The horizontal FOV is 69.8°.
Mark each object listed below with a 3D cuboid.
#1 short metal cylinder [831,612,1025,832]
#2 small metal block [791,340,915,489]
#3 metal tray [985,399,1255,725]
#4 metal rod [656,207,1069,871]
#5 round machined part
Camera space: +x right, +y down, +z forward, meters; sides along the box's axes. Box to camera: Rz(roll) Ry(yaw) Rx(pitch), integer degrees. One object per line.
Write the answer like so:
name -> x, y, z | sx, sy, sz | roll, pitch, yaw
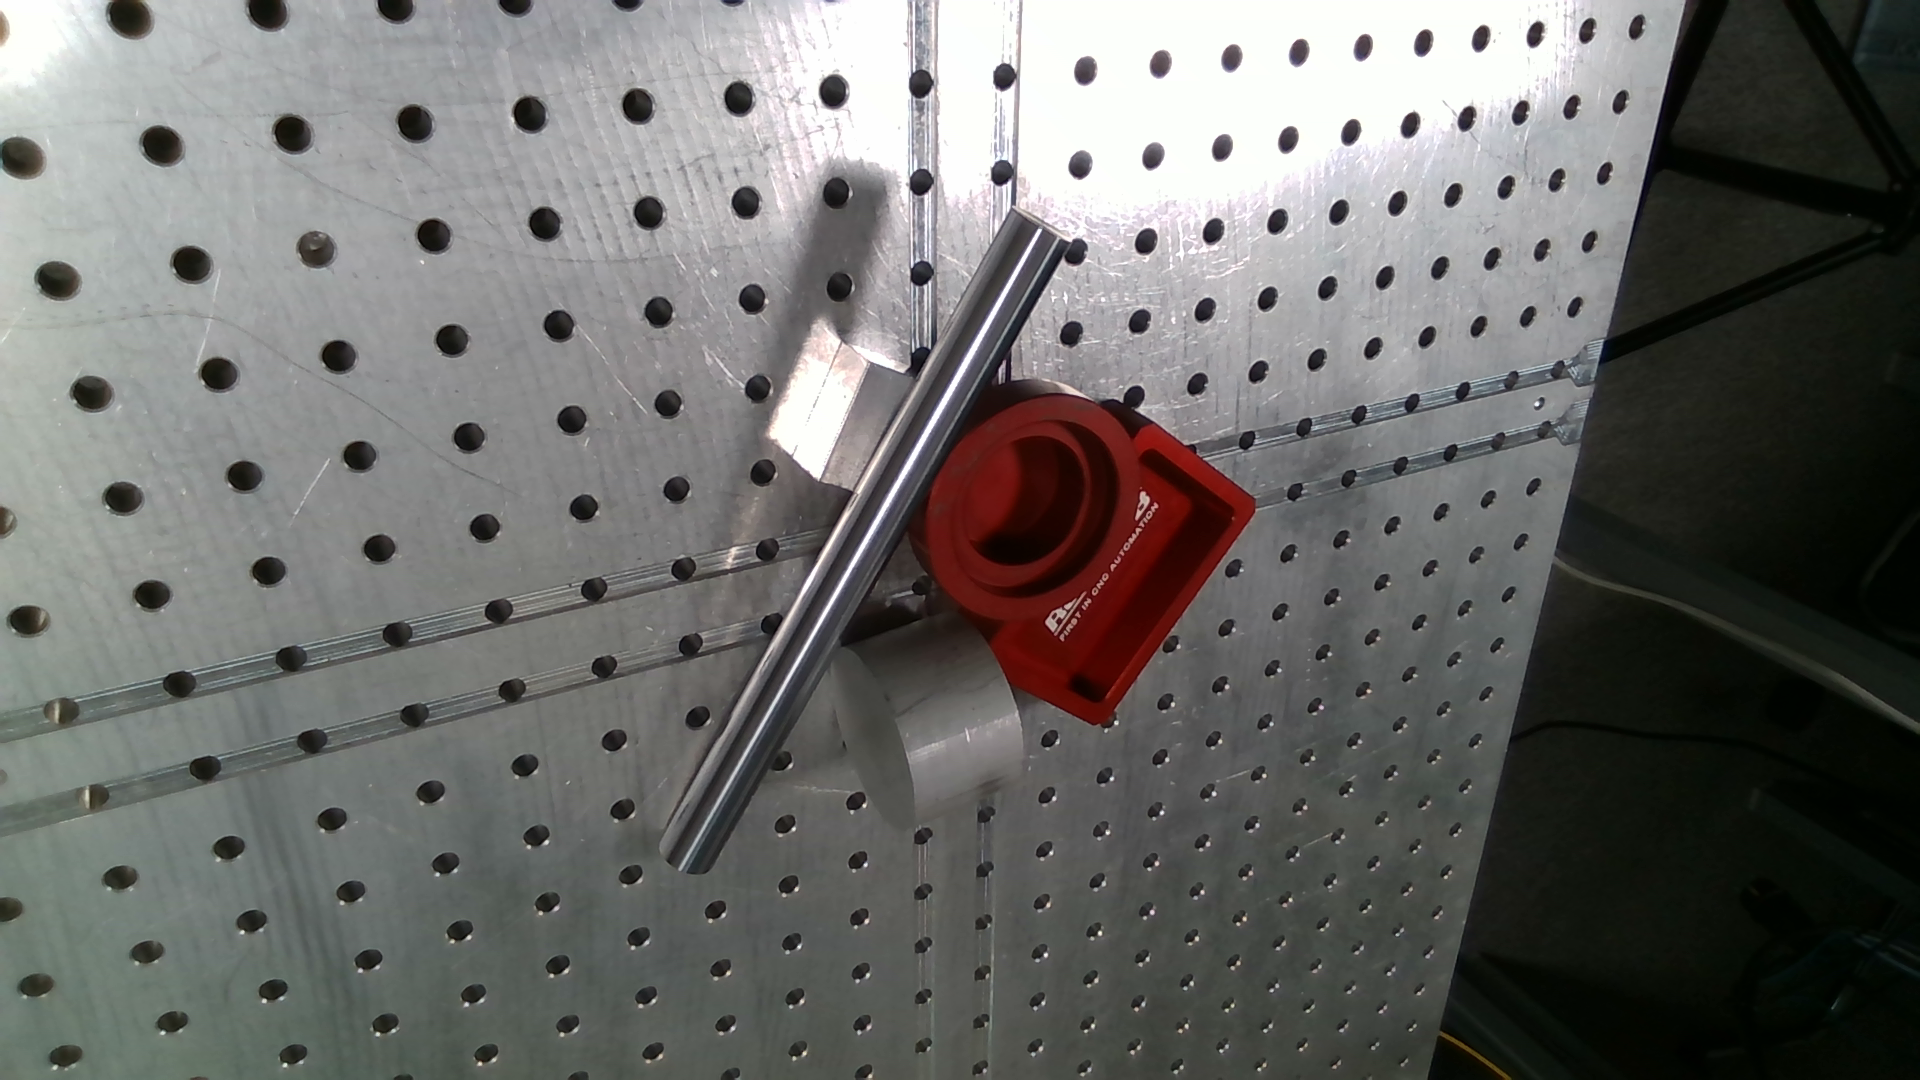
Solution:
short metal cylinder -> -0.015, 0.075, 0.578 | 0.050, 0.080, 0.080 | -18, 123, -23
small metal block -> -0.031, -0.045, 0.541 | 0.050, 0.025, 0.050 | 16, 106, -36
metal tray -> 0.066, 0.013, 0.627 | 0.090, 0.030, 0.130 | 30, 97, -39
metal rod -> -0.045, 0.010, 0.536 | 0.025, 0.025, 0.301 | 16, 114, -36
round machined part -> 0.022, -0.019, 0.566 | 0.098, 0.042, 0.098 | -13, 119, -25
